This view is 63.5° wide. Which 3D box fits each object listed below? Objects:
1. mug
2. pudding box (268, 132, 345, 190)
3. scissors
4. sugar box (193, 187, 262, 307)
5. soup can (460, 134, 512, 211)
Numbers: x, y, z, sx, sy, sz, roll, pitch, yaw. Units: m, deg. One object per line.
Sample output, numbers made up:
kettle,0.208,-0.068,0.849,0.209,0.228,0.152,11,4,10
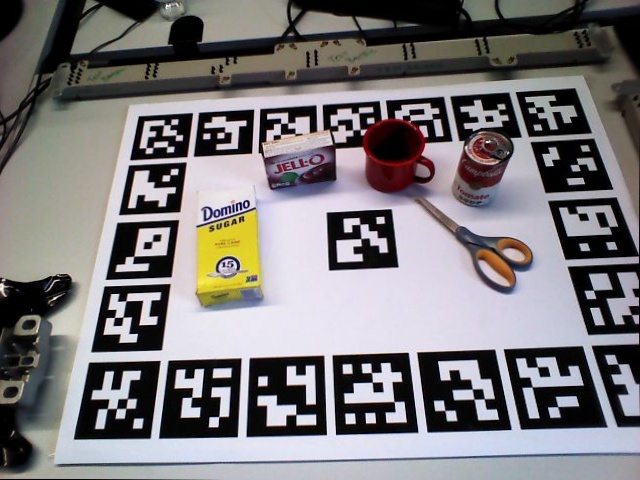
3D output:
mug,0.131,-0.126,0.791,0.093,0.081,0.117,-36,63,-11
pudding box,-0.019,-0.123,0.795,0.114,0.090,0.038,-11,68,-1
scissors,0.227,0.004,0.749,0.087,0.016,0.203,-44,68,-6
sugar box,-0.136,0.008,0.770,0.093,0.045,0.175,-6,63,4
soup can,0.246,-0.097,0.761,0.068,0.102,0.067,-3,61,5
